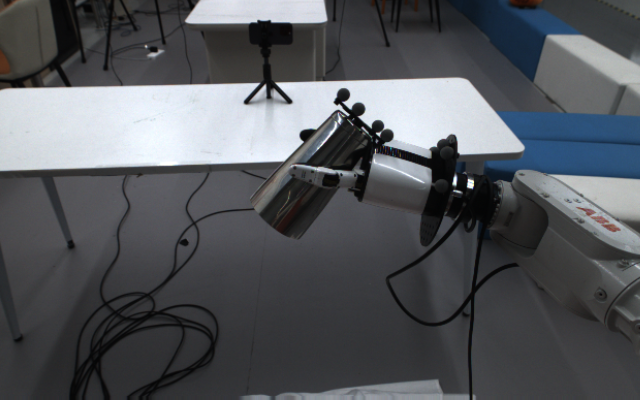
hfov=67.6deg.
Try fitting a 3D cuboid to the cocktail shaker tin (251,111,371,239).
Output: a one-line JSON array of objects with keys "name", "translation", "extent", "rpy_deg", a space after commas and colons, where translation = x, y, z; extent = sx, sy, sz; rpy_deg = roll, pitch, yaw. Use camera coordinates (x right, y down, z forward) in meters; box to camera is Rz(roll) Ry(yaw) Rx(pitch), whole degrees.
[{"name": "cocktail shaker tin", "translation": [-0.007, -0.042, 0.669], "extent": [0.093, 0.170, 0.093], "rpy_deg": [41, 12, -11]}]
